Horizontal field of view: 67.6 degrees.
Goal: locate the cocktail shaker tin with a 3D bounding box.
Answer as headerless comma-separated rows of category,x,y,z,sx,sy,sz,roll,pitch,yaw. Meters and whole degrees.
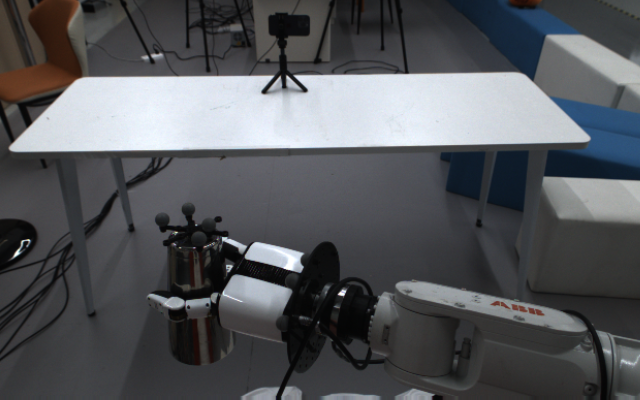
cocktail shaker tin,-0.159,0.122,0.639,0.093,0.170,0.093,2,25,-1
